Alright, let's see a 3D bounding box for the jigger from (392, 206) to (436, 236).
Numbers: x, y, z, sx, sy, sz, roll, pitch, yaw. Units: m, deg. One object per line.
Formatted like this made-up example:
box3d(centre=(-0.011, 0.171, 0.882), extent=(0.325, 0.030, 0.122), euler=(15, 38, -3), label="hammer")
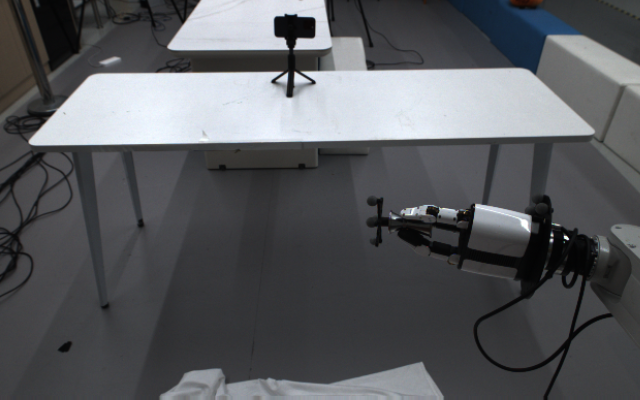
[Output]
box3d(centre=(0.155, 0.033, 0.790), extent=(0.071, 0.043, 0.043), euler=(2, 34, 13), label="jigger")
